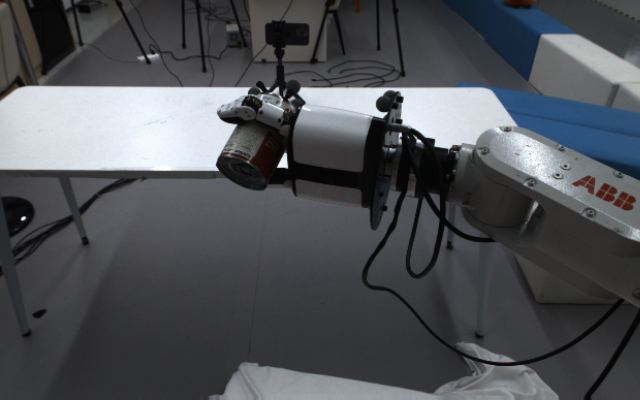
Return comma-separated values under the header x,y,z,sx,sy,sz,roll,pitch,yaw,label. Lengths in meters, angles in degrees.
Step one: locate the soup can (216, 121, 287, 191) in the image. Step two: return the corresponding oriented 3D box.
x,y,z,sx,sy,sz,roll,pitch,yaw,label
-0.074,-0.073,0.590,0.067,0.067,0.101,15,63,18,soup can
